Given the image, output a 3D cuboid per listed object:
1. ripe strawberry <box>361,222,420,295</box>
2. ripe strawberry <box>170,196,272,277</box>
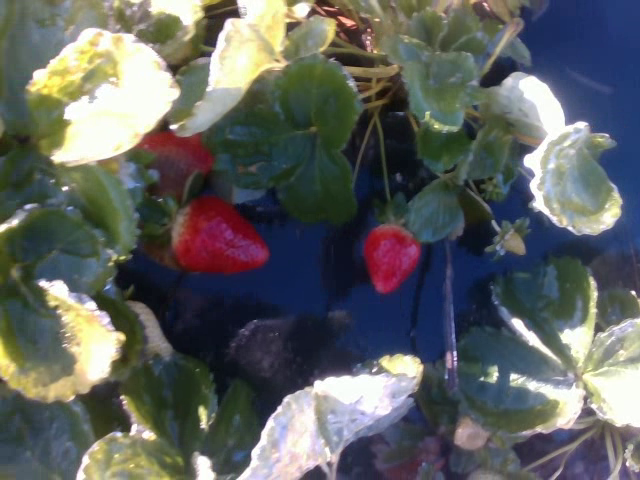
[{"bbox_3d":[0.043,0.012,0.349,0.039,0.047,0.040,15,-1,-23],"label":"ripe strawberry"},{"bbox_3d":[-0.049,0.005,0.329,0.056,0.044,0.040,27,5,-25],"label":"ripe strawberry"}]
